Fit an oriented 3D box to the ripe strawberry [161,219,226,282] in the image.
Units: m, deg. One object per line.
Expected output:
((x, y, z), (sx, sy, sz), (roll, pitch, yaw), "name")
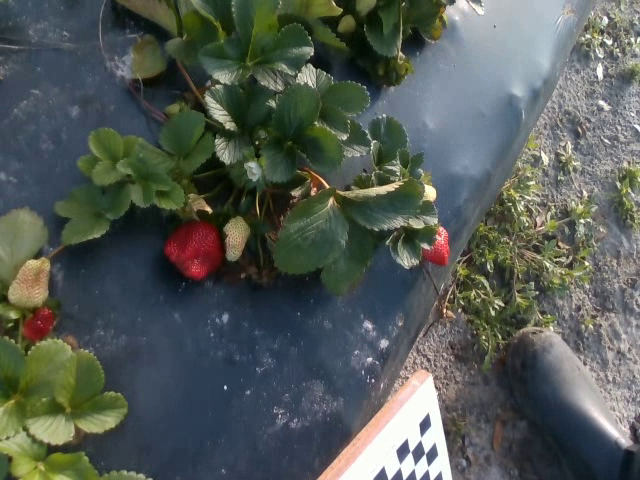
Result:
((-0.122, 0.013, 0.595), (0.057, 0.058, 0.071), (-1, 19, 20), "ripe strawberry")
